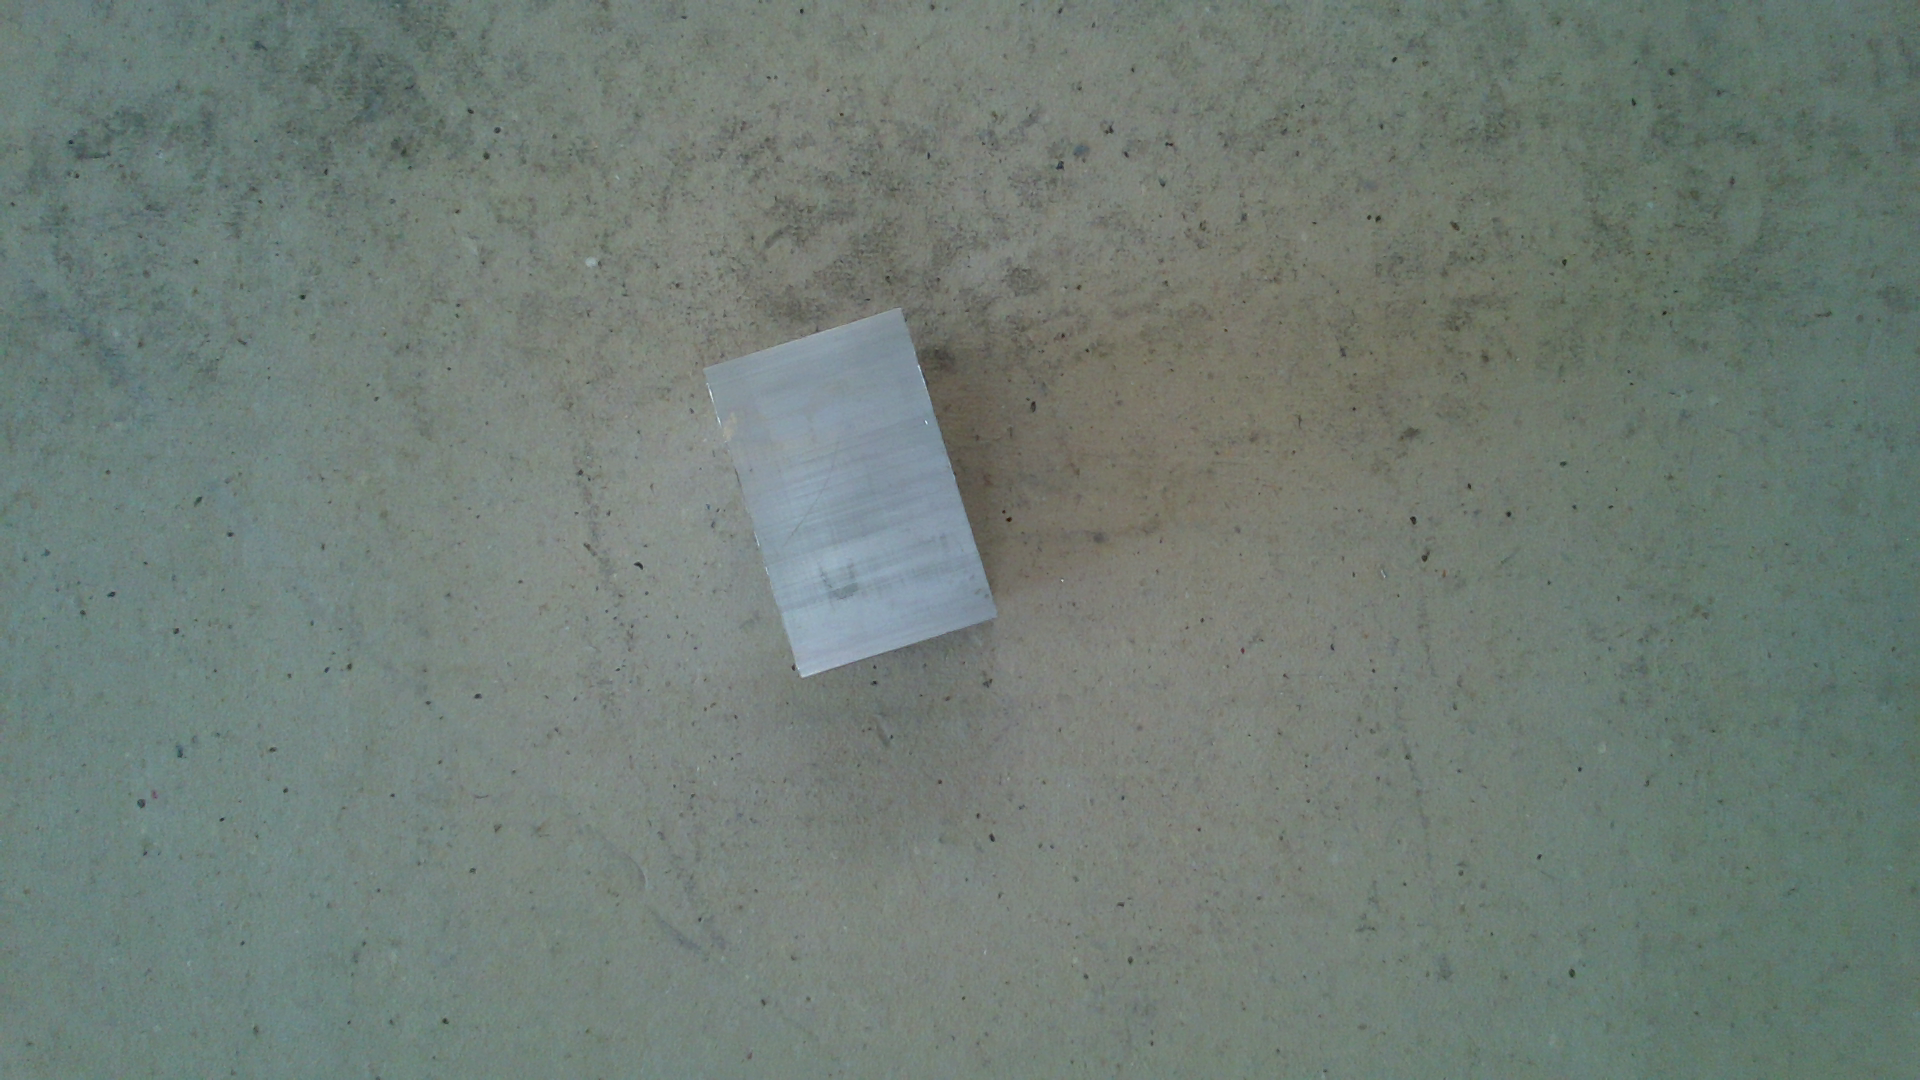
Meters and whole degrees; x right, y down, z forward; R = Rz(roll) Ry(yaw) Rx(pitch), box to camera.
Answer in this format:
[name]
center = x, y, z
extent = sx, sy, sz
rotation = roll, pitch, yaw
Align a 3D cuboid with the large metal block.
[large metal block]
center = -0.026, -0.011, 0.367
extent = 0.050, 0.080, 0.080
rotation = -17, 90, 0
